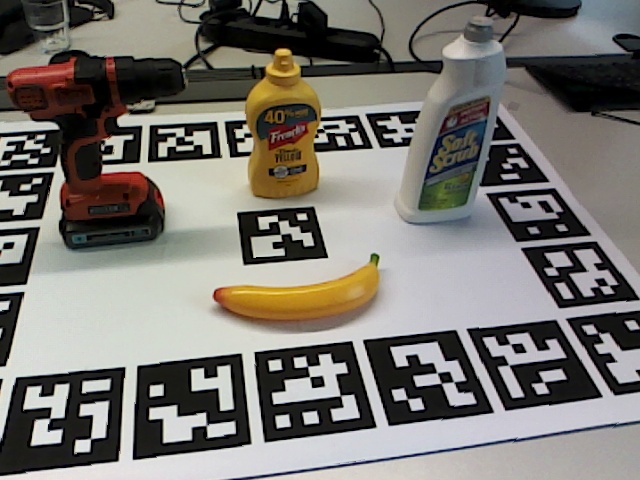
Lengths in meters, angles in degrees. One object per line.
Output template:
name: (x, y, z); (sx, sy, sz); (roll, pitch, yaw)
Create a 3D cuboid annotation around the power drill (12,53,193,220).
power drill: (-0.226, -0.117, 0.700); (0.184, 0.186, 0.057); (-11, 44, -10)

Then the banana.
banana: (-0.020, 0.051, 0.670); (0.197, 0.039, 0.074); (-10, 45, -10)

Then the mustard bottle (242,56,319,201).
mustard bottle: (-0.050, -0.140, 0.784); (0.096, 0.191, 0.059); (-9, 43, -16)

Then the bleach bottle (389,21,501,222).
bleach bottle: (0.151, -0.136, 0.744); (0.102, 0.250, 0.068); (1, 42, -3)
